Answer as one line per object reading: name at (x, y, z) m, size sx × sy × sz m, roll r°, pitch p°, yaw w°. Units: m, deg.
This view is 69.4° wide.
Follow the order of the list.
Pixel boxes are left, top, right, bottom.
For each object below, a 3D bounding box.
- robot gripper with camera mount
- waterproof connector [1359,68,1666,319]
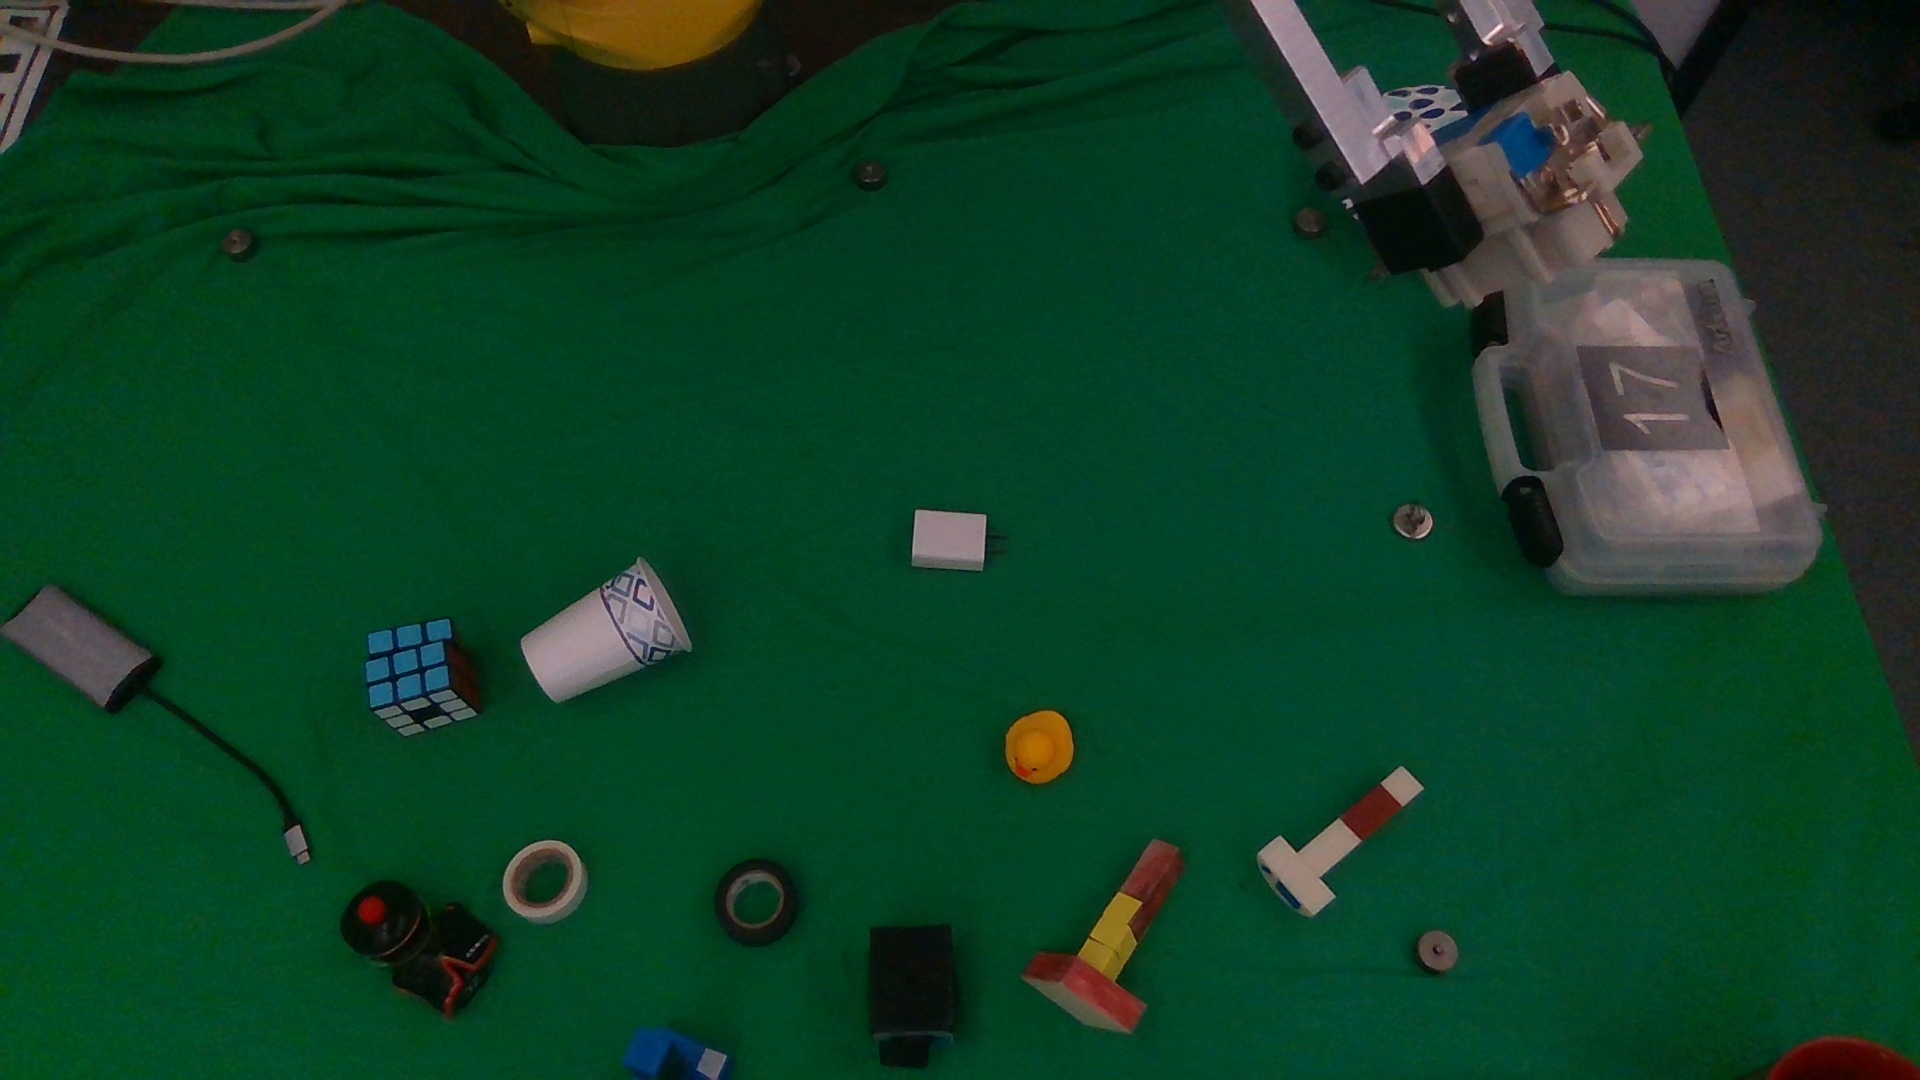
robot gripper with camera mount at (0.115, -0.143, 0.218) m, size 0.119 × 0.194 × 0.158 m, roll -40°, pitch 102°, yaw -24°
waterproof connector at (0.121, -0.073, 0.306) m, size 0.035 × 0.065 × 0.037 m, roll -45°, pitch 101°, yaw -24°
